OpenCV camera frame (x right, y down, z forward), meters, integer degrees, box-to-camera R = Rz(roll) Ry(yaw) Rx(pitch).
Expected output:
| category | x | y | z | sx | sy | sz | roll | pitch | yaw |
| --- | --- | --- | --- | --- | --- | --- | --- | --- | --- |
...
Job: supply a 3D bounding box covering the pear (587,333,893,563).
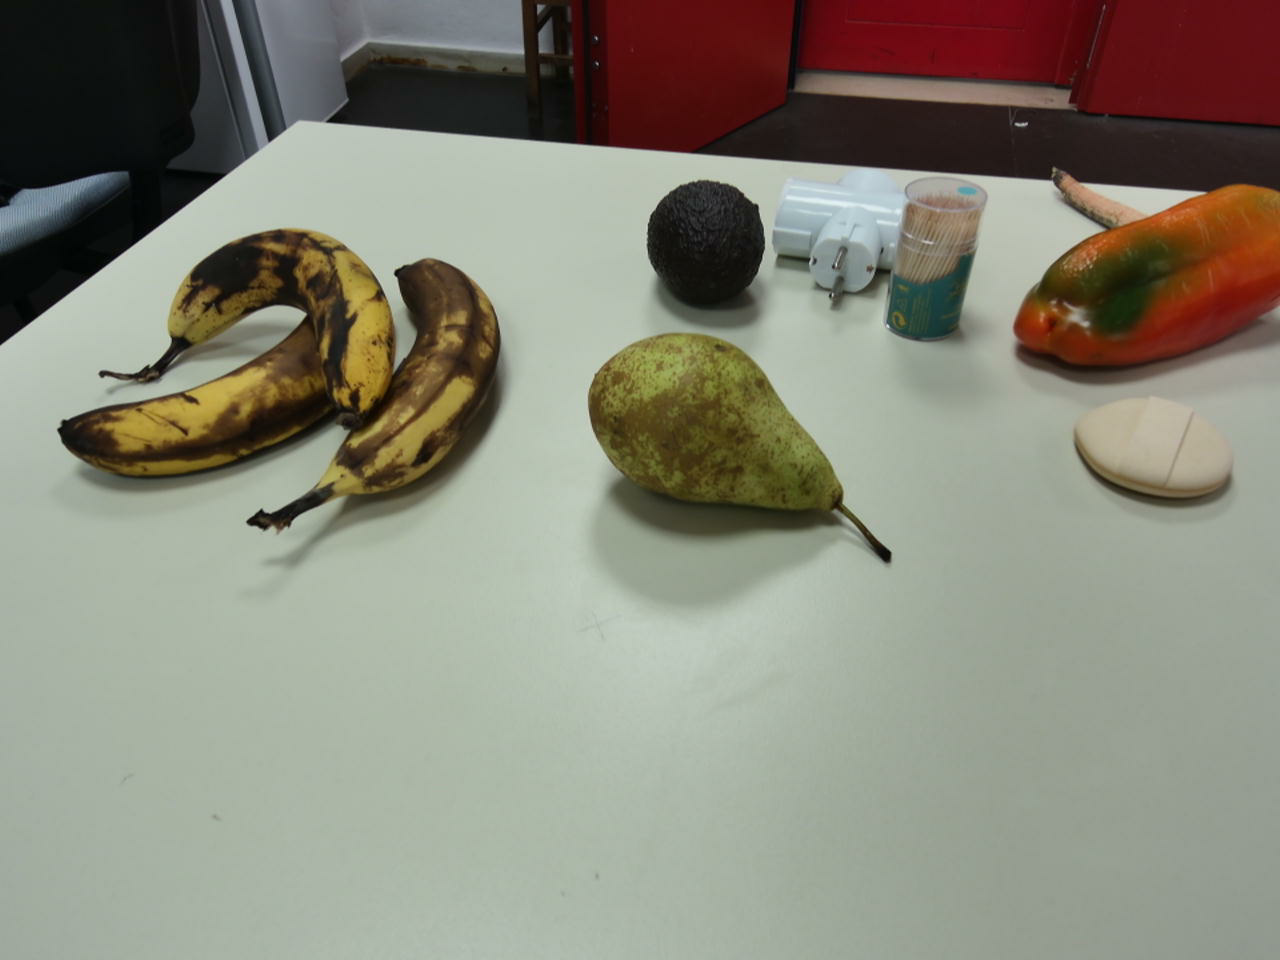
| category | x | y | z | sx | sy | sz | roll | pitch | yaw |
| --- | --- | --- | --- | --- | --- | --- | --- | --- | --- |
| pear | 0.043 | -0.023 | 0.420 | 0.128 | 0.075 | 0.071 | 4 | 38 | 5 |
